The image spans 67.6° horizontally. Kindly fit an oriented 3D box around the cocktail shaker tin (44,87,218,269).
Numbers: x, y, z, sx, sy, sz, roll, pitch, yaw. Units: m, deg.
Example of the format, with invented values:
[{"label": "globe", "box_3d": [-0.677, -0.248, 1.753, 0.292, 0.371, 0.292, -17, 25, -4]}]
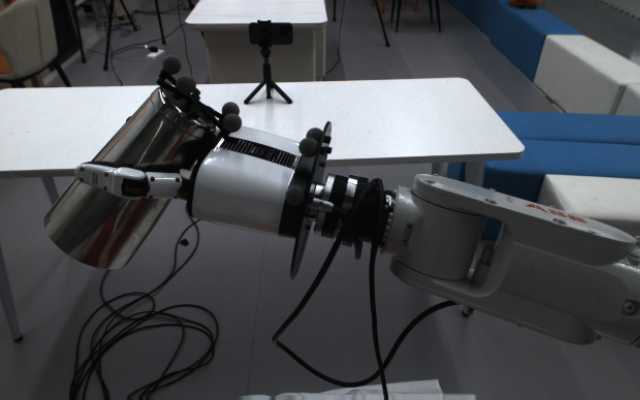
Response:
[{"label": "cocktail shaker tin", "box_3d": [-0.177, -0.026, 0.476, 0.093, 0.170, 0.093, 41, 12, -11]}]
